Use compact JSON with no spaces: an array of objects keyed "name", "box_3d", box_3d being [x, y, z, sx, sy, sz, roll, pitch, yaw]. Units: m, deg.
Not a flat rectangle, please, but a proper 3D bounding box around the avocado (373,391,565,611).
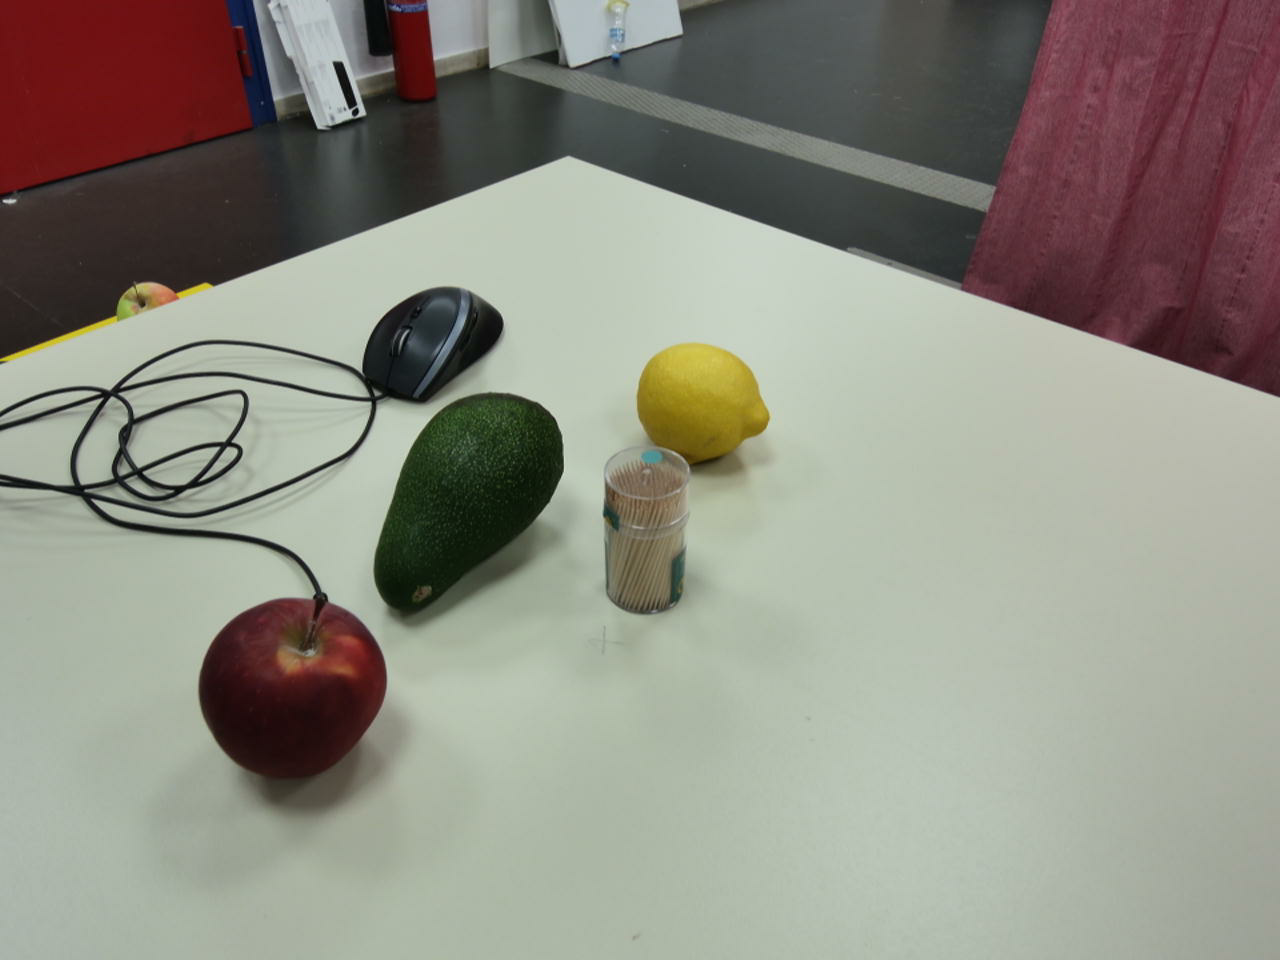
[{"name":"avocado","box_3d":[-0.091,0.002,0.498,0.123,0.076,0.074,-28,46,-34]}]
